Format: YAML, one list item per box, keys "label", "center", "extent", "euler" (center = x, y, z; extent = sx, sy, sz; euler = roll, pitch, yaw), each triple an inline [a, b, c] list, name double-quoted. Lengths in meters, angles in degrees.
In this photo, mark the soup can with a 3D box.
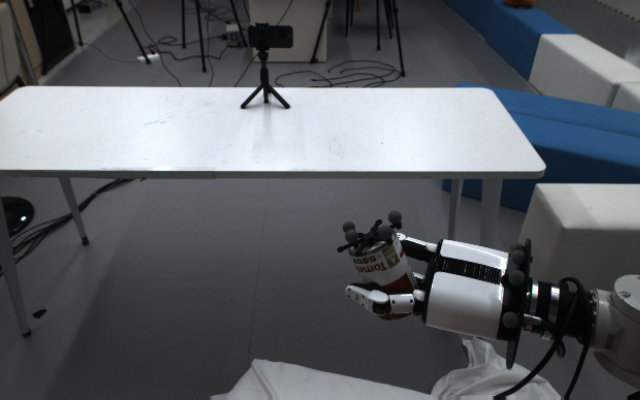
- label: "soup can"
  center: [0.088, 0.095, 0.633]
  extent: [0.067, 0.101, 0.067]
  euler: [-23, 16, 7]
